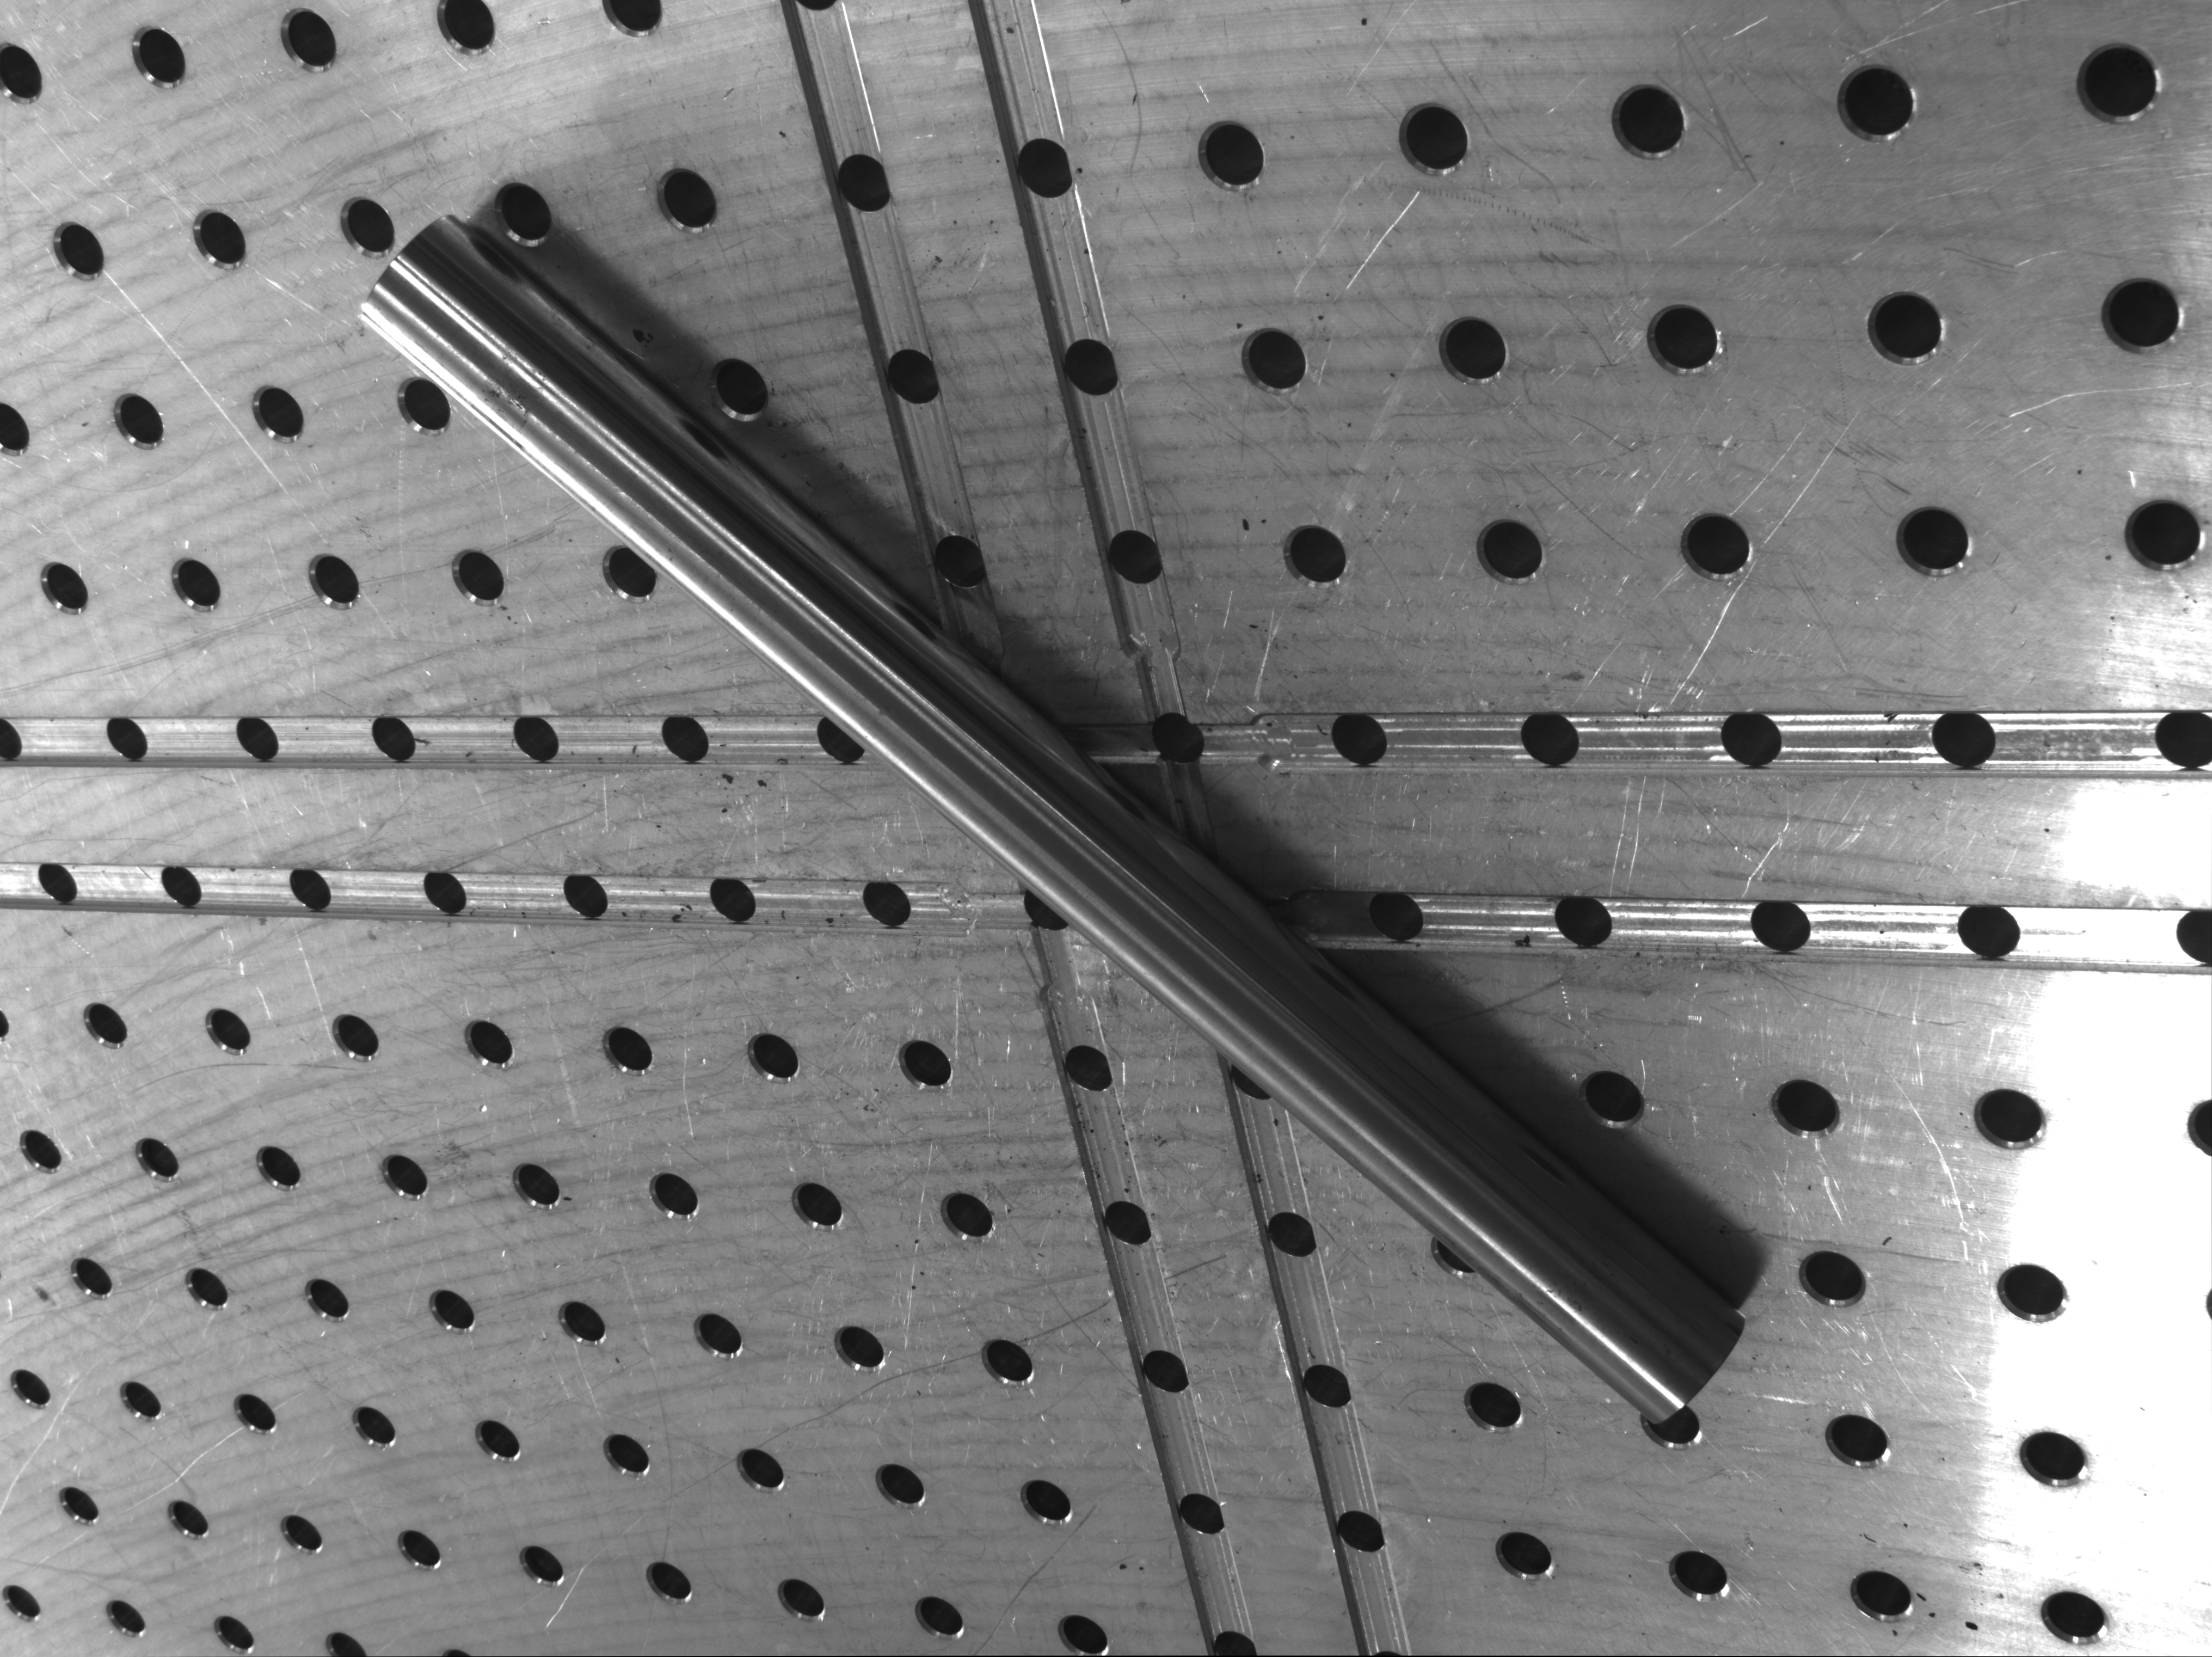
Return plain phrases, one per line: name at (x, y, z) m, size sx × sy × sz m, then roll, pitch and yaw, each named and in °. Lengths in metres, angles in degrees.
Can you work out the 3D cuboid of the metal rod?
metal rod at (-0.010, -0.002, 0.651) m, size 0.300 × 0.025 × 0.025 m, roll 40°, pitch 129°, yaw 1°
